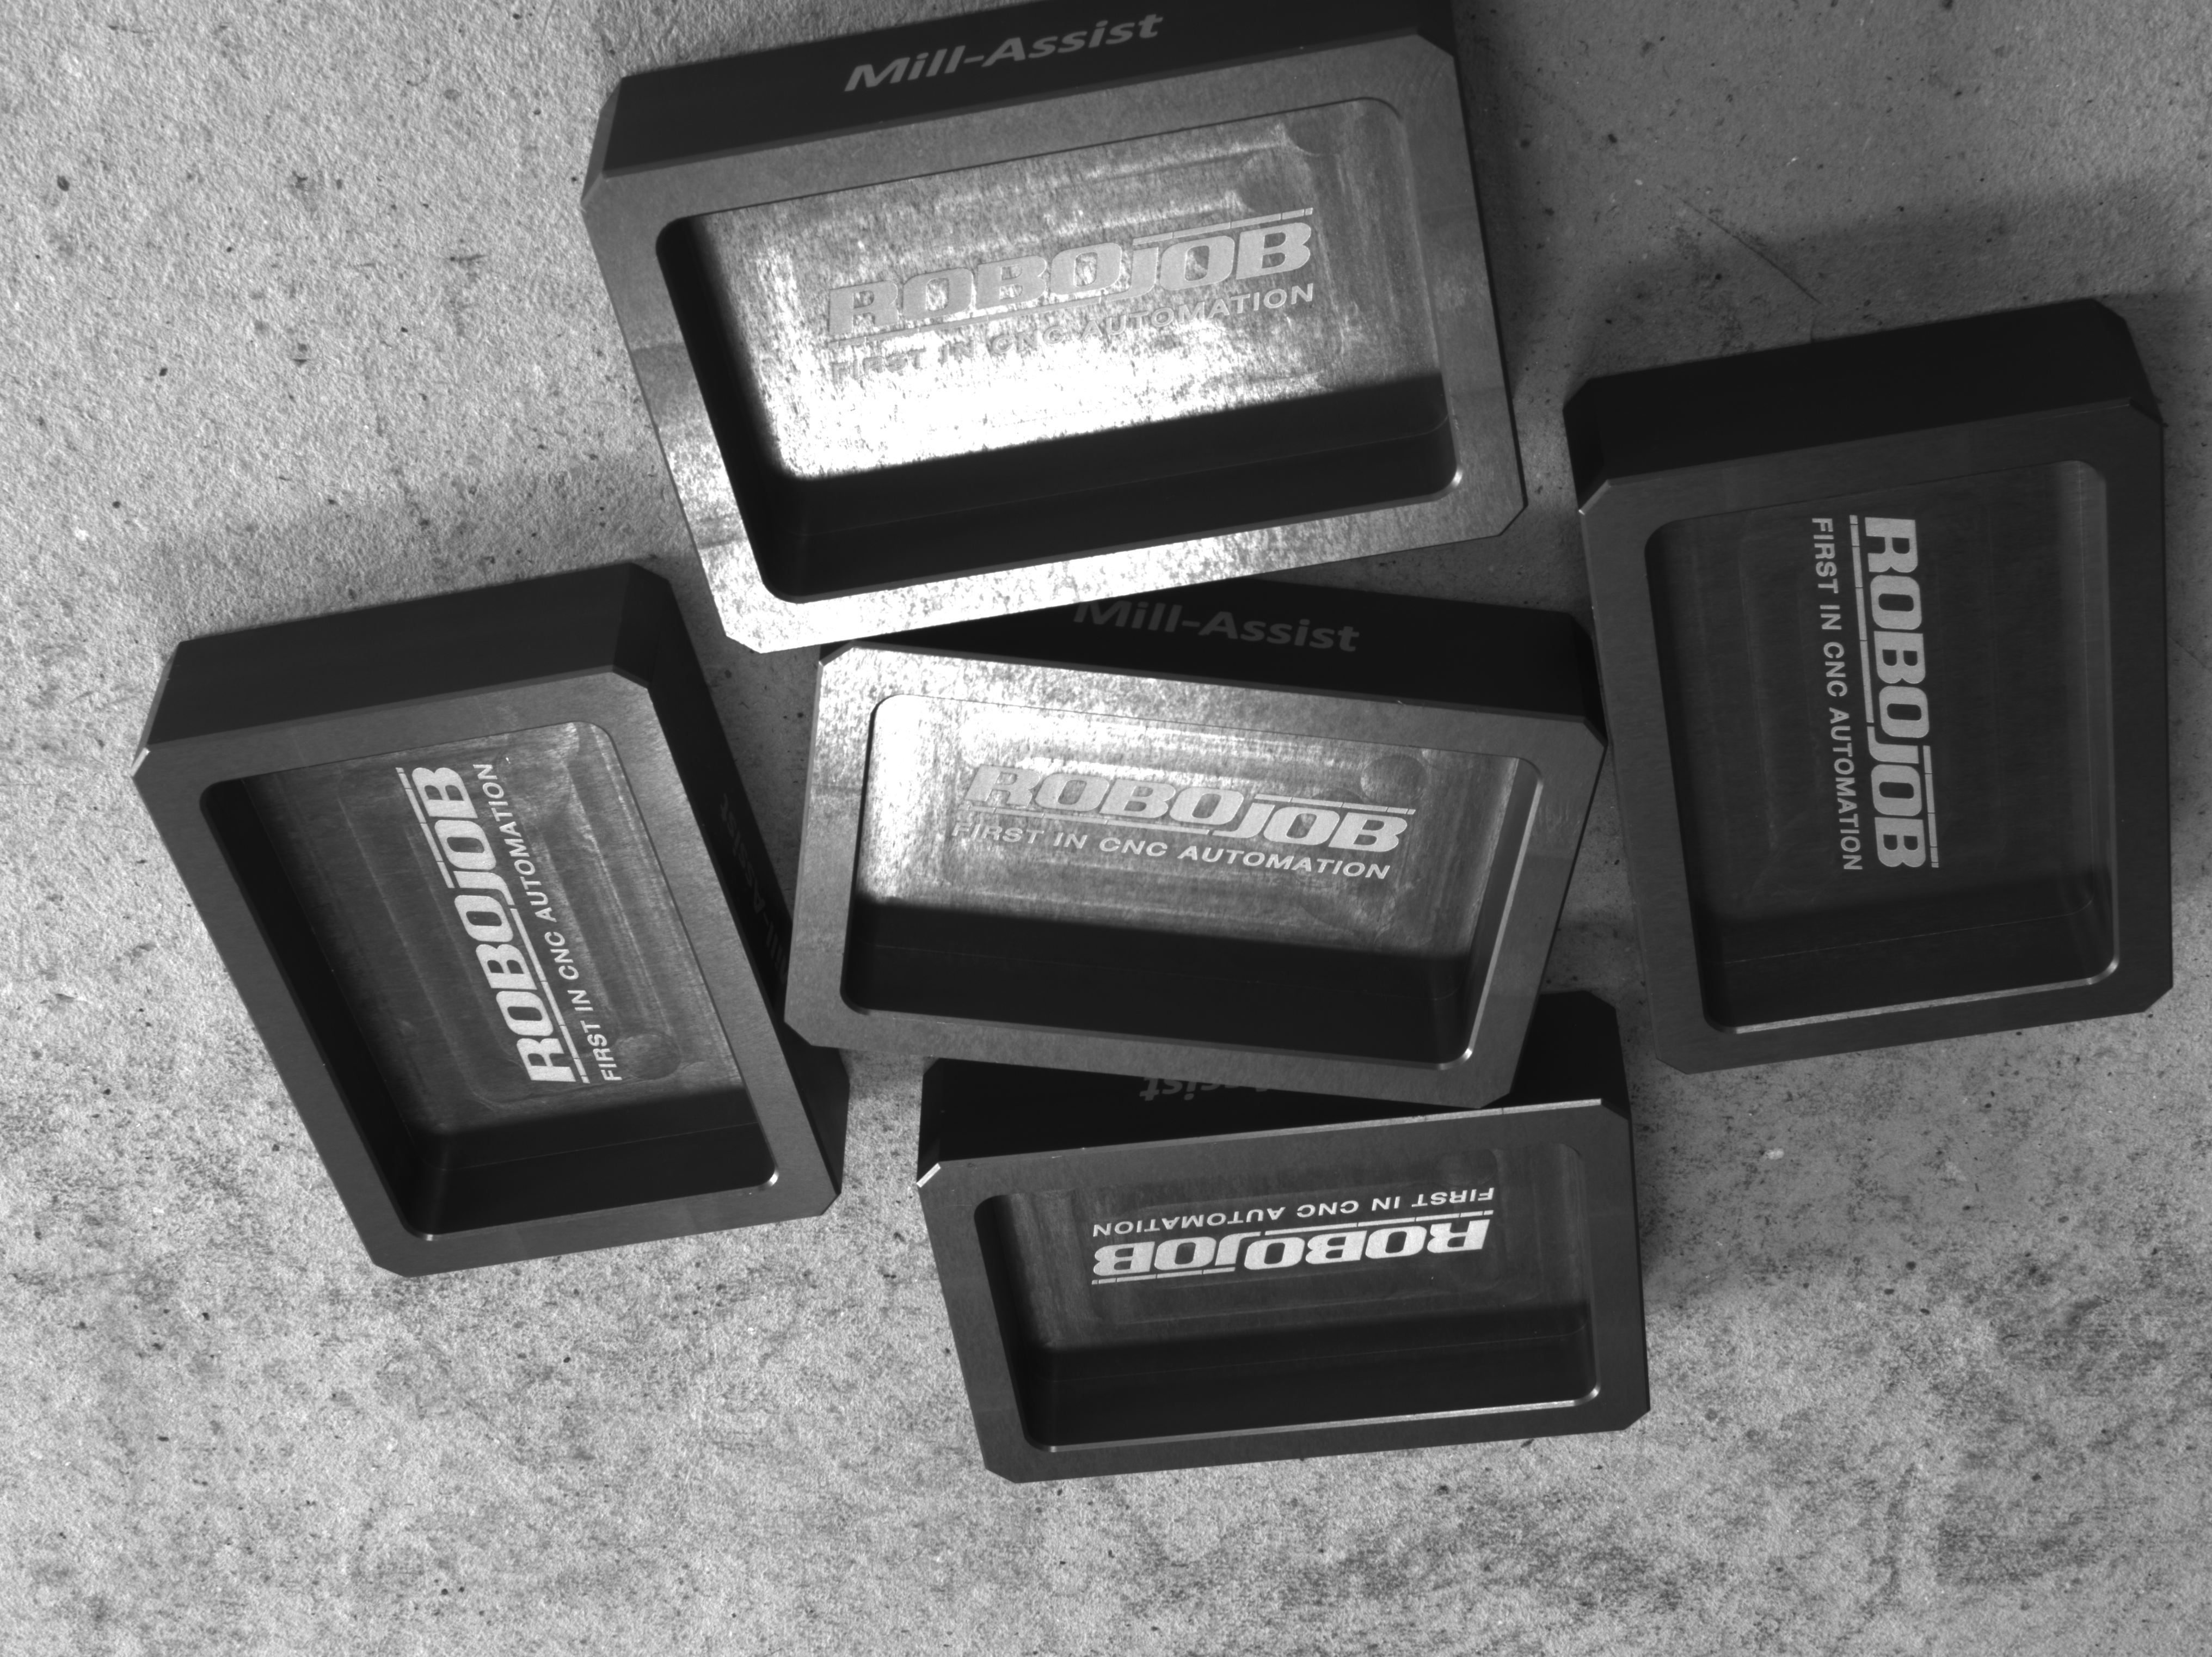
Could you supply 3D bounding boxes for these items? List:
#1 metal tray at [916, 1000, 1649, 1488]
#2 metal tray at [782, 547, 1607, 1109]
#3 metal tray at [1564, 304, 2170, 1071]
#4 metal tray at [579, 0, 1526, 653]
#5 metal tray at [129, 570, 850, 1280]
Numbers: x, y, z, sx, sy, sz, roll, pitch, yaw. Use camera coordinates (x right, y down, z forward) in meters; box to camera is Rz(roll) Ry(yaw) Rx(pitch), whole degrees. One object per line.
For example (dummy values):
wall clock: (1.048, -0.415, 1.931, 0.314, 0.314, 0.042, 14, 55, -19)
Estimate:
metal tray: (0.035, 0.081, 0.703, 0.130, 0.030, 0.090, -6, 130, 5)
metal tray: (0.013, 0.001, 0.637, 0.130, 0.030, 0.090, 6, 132, -4)
metal tray: (0.130, -0.020, 0.620, 0.090, 0.030, 0.130, -8, 130, 8)
metal tray: (-0.006, -0.080, 0.569, 0.130, 0.030, 0.090, -8, 130, 8)
metal tray: (-0.105, 0.020, 0.653, 0.090, 0.030, 0.130, -9, 130, 8)
